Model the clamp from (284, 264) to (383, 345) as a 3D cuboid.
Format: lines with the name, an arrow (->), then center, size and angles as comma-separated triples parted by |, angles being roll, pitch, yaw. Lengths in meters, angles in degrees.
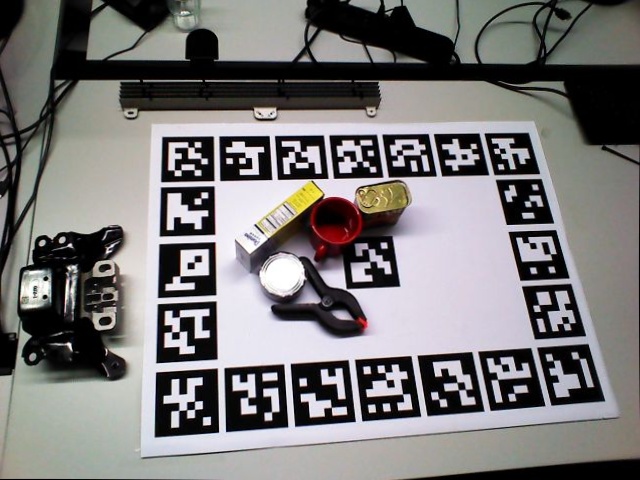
clamp -> 0.034, 0.130, 0.900 | 0.165, 0.037, 0.121 | 33, 64, 1

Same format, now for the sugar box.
sugar box -> -0.047, -0.011, 0.913 | 0.175, 0.093, 0.045 | -39, 77, -20

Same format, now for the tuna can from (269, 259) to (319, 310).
tuna can -> -0.046, 0.079, 0.904 | 0.086, 0.034, 0.085 | 2, 71, -6

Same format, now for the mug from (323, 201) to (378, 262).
mug -> 0.046, 0.000, 0.918 | 0.093, 0.082, 0.116 | 22, 69, 1

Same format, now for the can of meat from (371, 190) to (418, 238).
can of meat -> 0.140, -0.047, 0.956 | 0.102, 0.084, 0.057 | -9, 69, -12
